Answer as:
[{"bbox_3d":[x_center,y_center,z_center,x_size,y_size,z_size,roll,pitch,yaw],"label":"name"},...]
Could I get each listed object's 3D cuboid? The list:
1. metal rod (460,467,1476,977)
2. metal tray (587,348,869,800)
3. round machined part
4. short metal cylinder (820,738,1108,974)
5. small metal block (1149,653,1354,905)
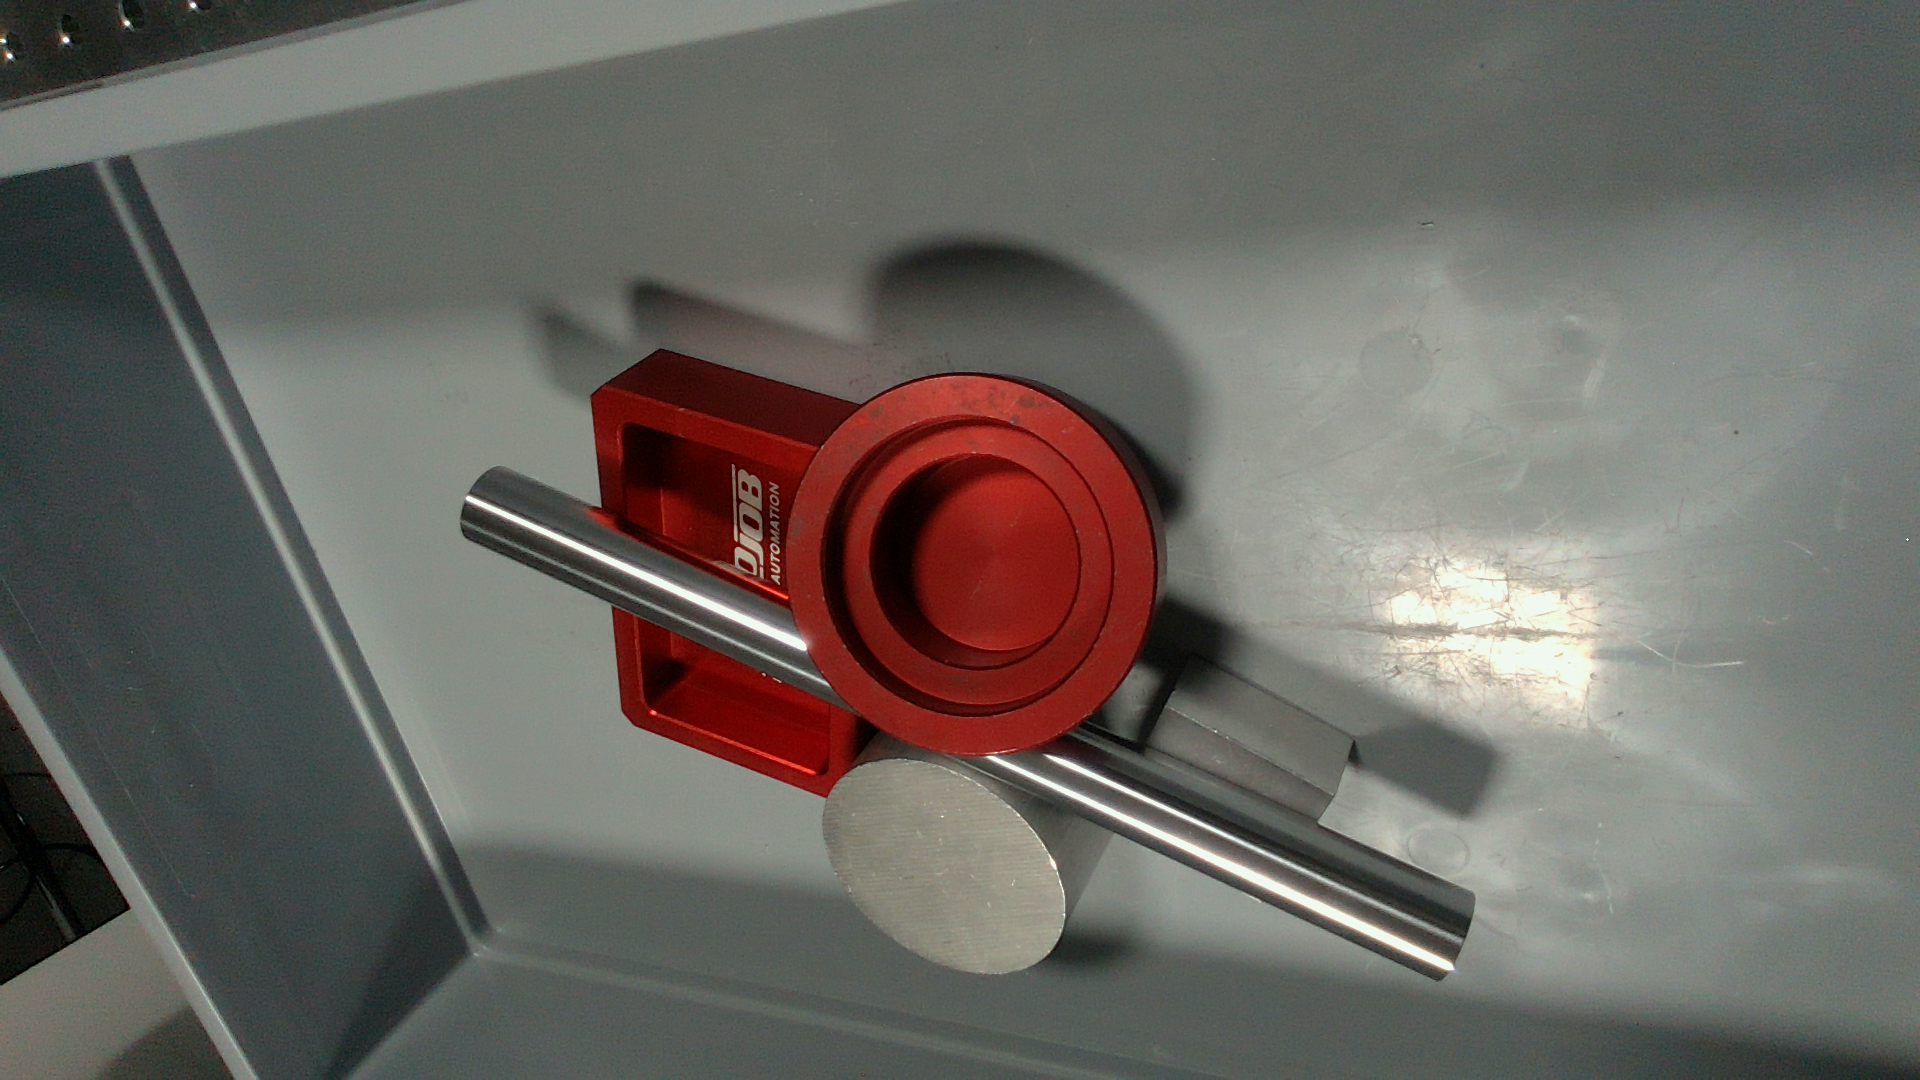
[{"bbox_3d":[-0.007,0.045,0.386,0.300,0.025,0.025,22,127,12],"label":"metal rod"},{"bbox_3d":[-0.066,0.014,0.431,0.090,0.030,0.130,17,125,19],"label":"metal tray"},{"bbox_3d":[0.006,0.005,0.364,0.098,0.042,0.098,2,97,15],"label":"round machined part"},{"bbox_3d":[0.004,0.086,0.425,0.080,0.050,0.080,13,124,21],"label":"short metal cylinder"},{"bbox_3d":[0.076,0.068,0.392,0.050,0.025,0.050,28,128,11],"label":"small metal block"}]
